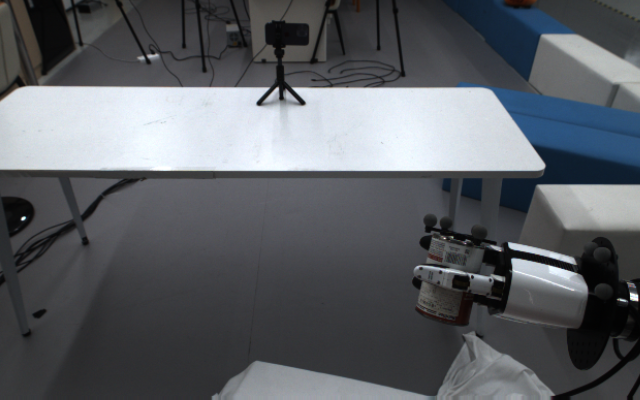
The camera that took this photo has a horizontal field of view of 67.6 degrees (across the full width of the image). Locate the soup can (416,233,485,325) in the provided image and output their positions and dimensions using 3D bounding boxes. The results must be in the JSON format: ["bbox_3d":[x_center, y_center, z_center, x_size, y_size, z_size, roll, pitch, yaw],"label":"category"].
[{"bbox_3d":[0.167,0.097,0.611,0.067,0.101,0.067,12,2,0],"label":"soup can"}]
